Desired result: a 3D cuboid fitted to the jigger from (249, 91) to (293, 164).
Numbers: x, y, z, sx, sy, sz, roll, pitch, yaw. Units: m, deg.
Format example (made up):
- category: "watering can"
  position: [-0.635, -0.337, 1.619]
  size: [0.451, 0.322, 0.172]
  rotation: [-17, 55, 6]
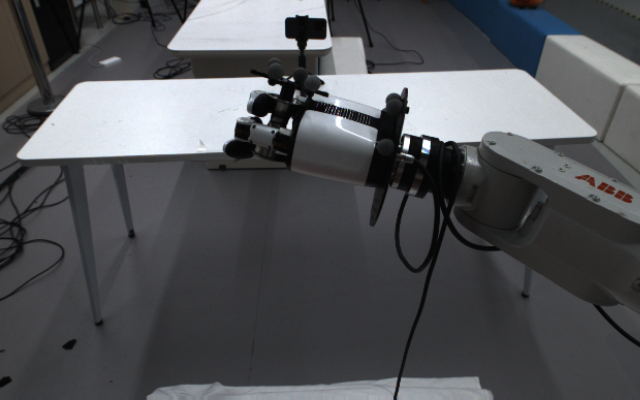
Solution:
- category: "jigger"
  position: [-0.048, -0.081, 0.549]
  size: [0.043, 0.071, 0.043]
  rotation: [18, 17, -6]
